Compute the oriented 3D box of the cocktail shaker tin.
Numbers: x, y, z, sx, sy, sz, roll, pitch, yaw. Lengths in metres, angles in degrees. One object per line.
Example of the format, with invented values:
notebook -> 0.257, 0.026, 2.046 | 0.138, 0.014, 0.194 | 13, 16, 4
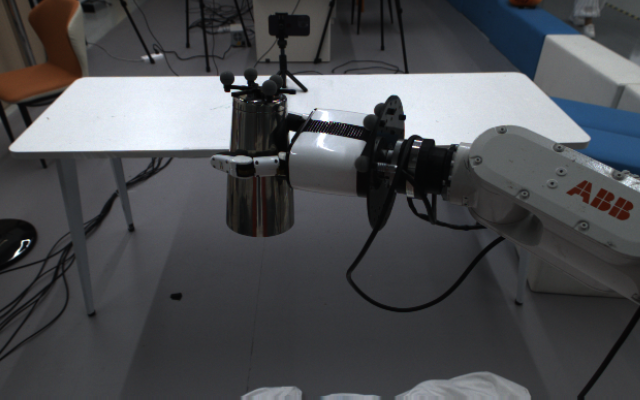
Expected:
cocktail shaker tin -> -0.076, -0.049, 0.620 | 0.093, 0.170, 0.093 | 2, 26, -1
